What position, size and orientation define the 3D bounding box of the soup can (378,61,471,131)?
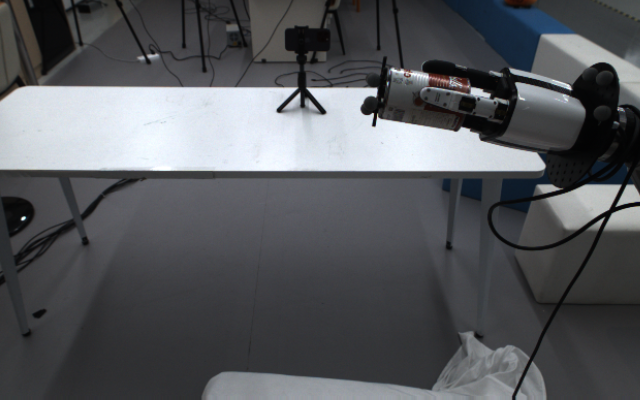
[{"bbox_3d":[0.132,-0.130,0.618,0.101,0.067,0.067,9,35,0],"label":"soup can"}]
